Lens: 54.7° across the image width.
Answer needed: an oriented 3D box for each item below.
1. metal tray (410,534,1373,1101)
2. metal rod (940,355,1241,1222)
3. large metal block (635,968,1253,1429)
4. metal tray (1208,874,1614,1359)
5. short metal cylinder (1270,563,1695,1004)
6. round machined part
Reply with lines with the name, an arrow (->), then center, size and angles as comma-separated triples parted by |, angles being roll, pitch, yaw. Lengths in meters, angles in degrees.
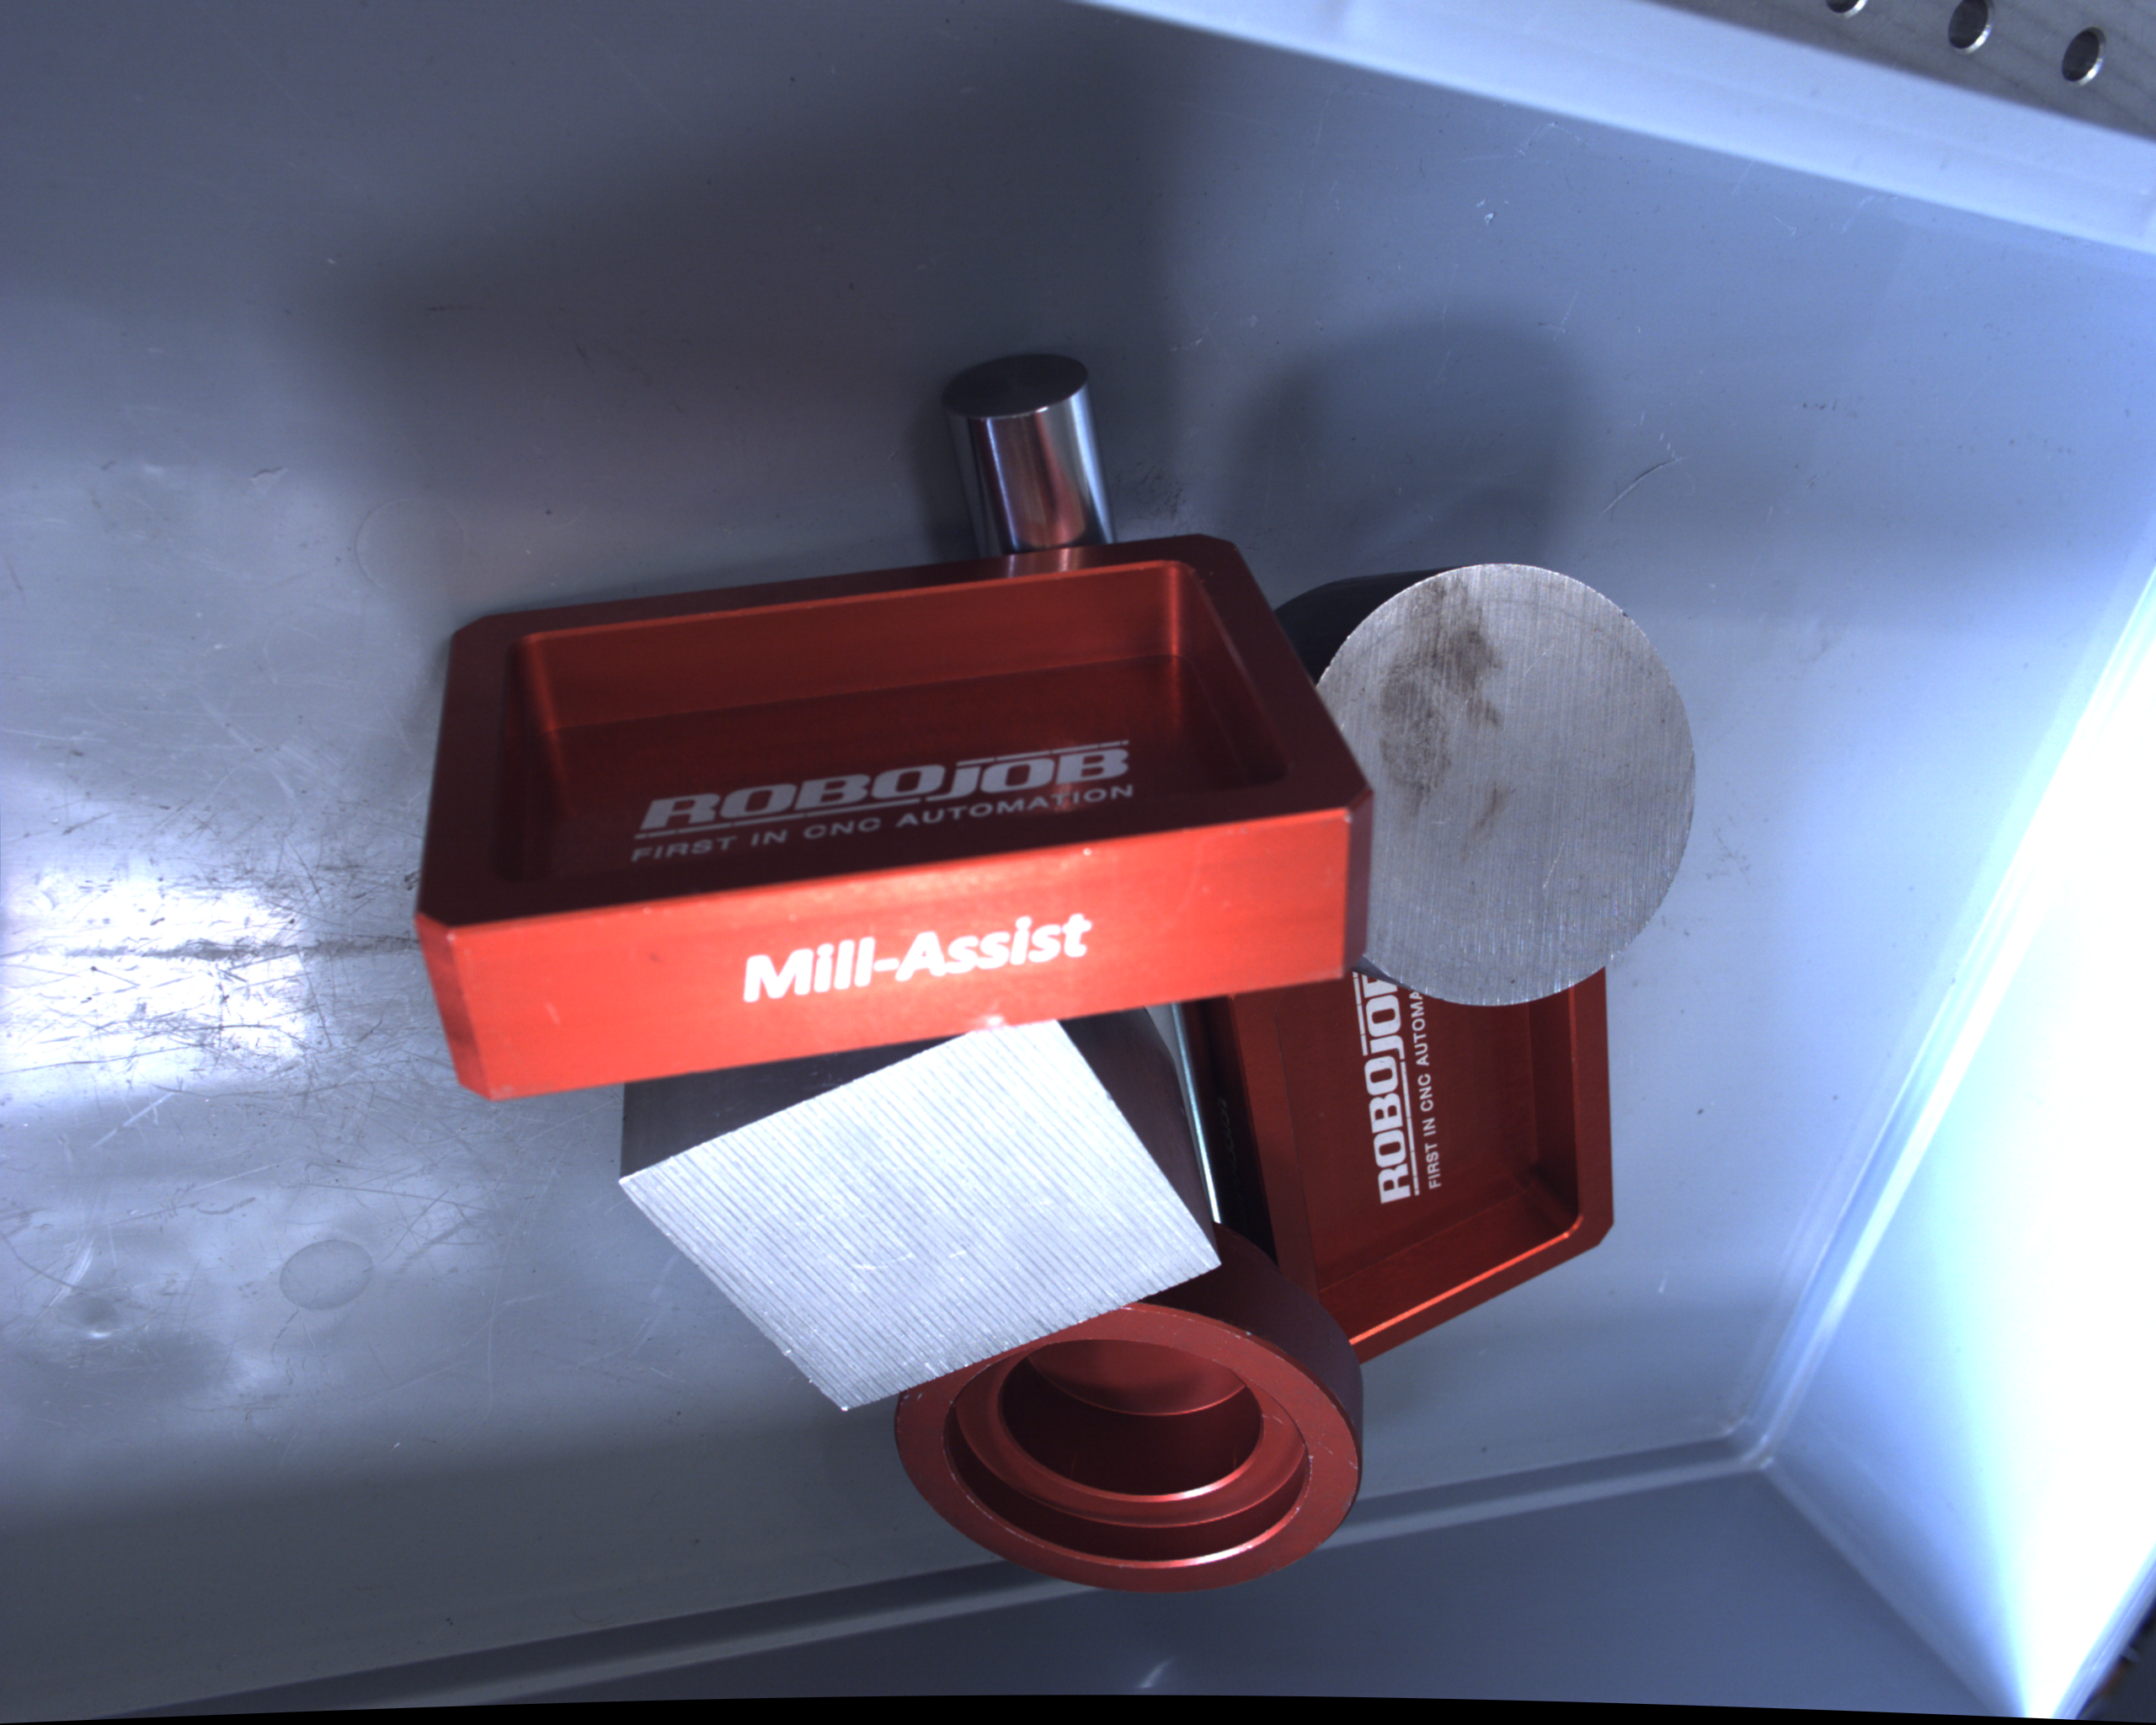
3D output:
metal tray -> -0.030, -0.012, 0.322 | 0.131, 0.090, 0.030 | -8, 125, -8
metal rod -> 0.015, 0.038, 0.438 | 0.025, 0.025, 0.298 | -23, 127, -15
large metal block -> -0.024, 0.050, 0.384 | 0.080, 0.050, 0.080 | -25, 130, 9
metal tray -> 0.075, 0.051, 0.476 | 0.091, 0.030, 0.129 | -23, 127, -15
short metal cylinder -> 0.069, -0.016, 0.399 | 0.081, 0.050, 0.079 | -1, 95, -17
round machined part -> 0.012, 0.112, 0.454 | 0.099, 0.042, 0.097 | 4, 128, 5
